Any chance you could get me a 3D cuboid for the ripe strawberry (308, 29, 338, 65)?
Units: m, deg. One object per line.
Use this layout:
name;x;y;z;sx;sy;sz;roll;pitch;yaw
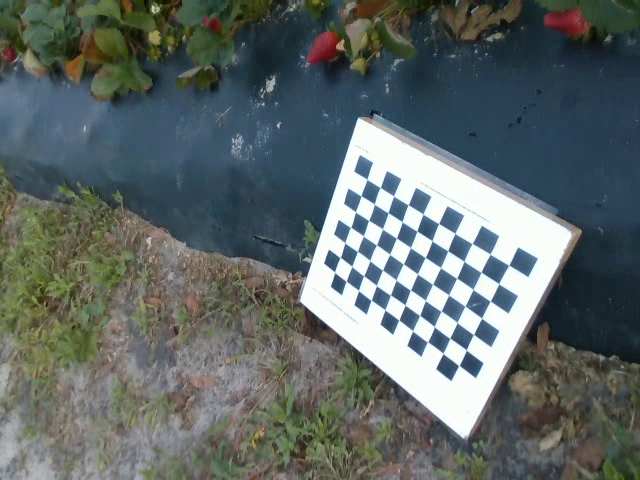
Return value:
ripe strawberry;0.002;-0.257;0.860;0.050;0.059;0.034;24;-24;41
